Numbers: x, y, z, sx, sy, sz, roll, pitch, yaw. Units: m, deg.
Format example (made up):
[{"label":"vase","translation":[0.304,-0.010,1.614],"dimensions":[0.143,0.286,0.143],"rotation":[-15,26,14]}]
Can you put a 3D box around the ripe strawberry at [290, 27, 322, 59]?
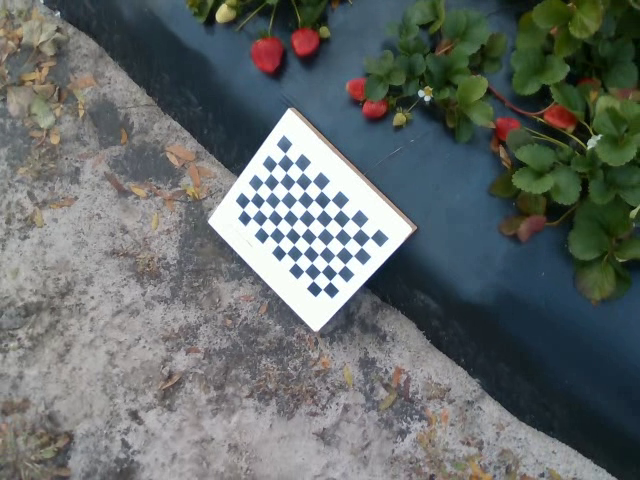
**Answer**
[{"label":"ripe strawberry","translation":[-0.026,-0.332,1.076],"dimensions":[0.050,0.060,0.051],"rotation":[-23,-46,36]}]

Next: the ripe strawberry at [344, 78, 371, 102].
[{"label":"ripe strawberry","translation":[0.065,-0.252,1.051],"dimensions":[0.053,0.047,0.039],"rotation":[10,29,-9]}]

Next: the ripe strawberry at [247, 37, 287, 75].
[{"label":"ripe strawberry","translation":[-0.089,-0.312,1.084],"dimensions":[0.058,0.065,0.043],"rotation":[-16,-10,35]}]

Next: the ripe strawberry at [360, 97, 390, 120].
[{"label":"ripe strawberry","translation":[0.087,-0.217,1.036],"dimensions":[0.049,0.043,0.041],"rotation":[-41,-15,-33]}]
